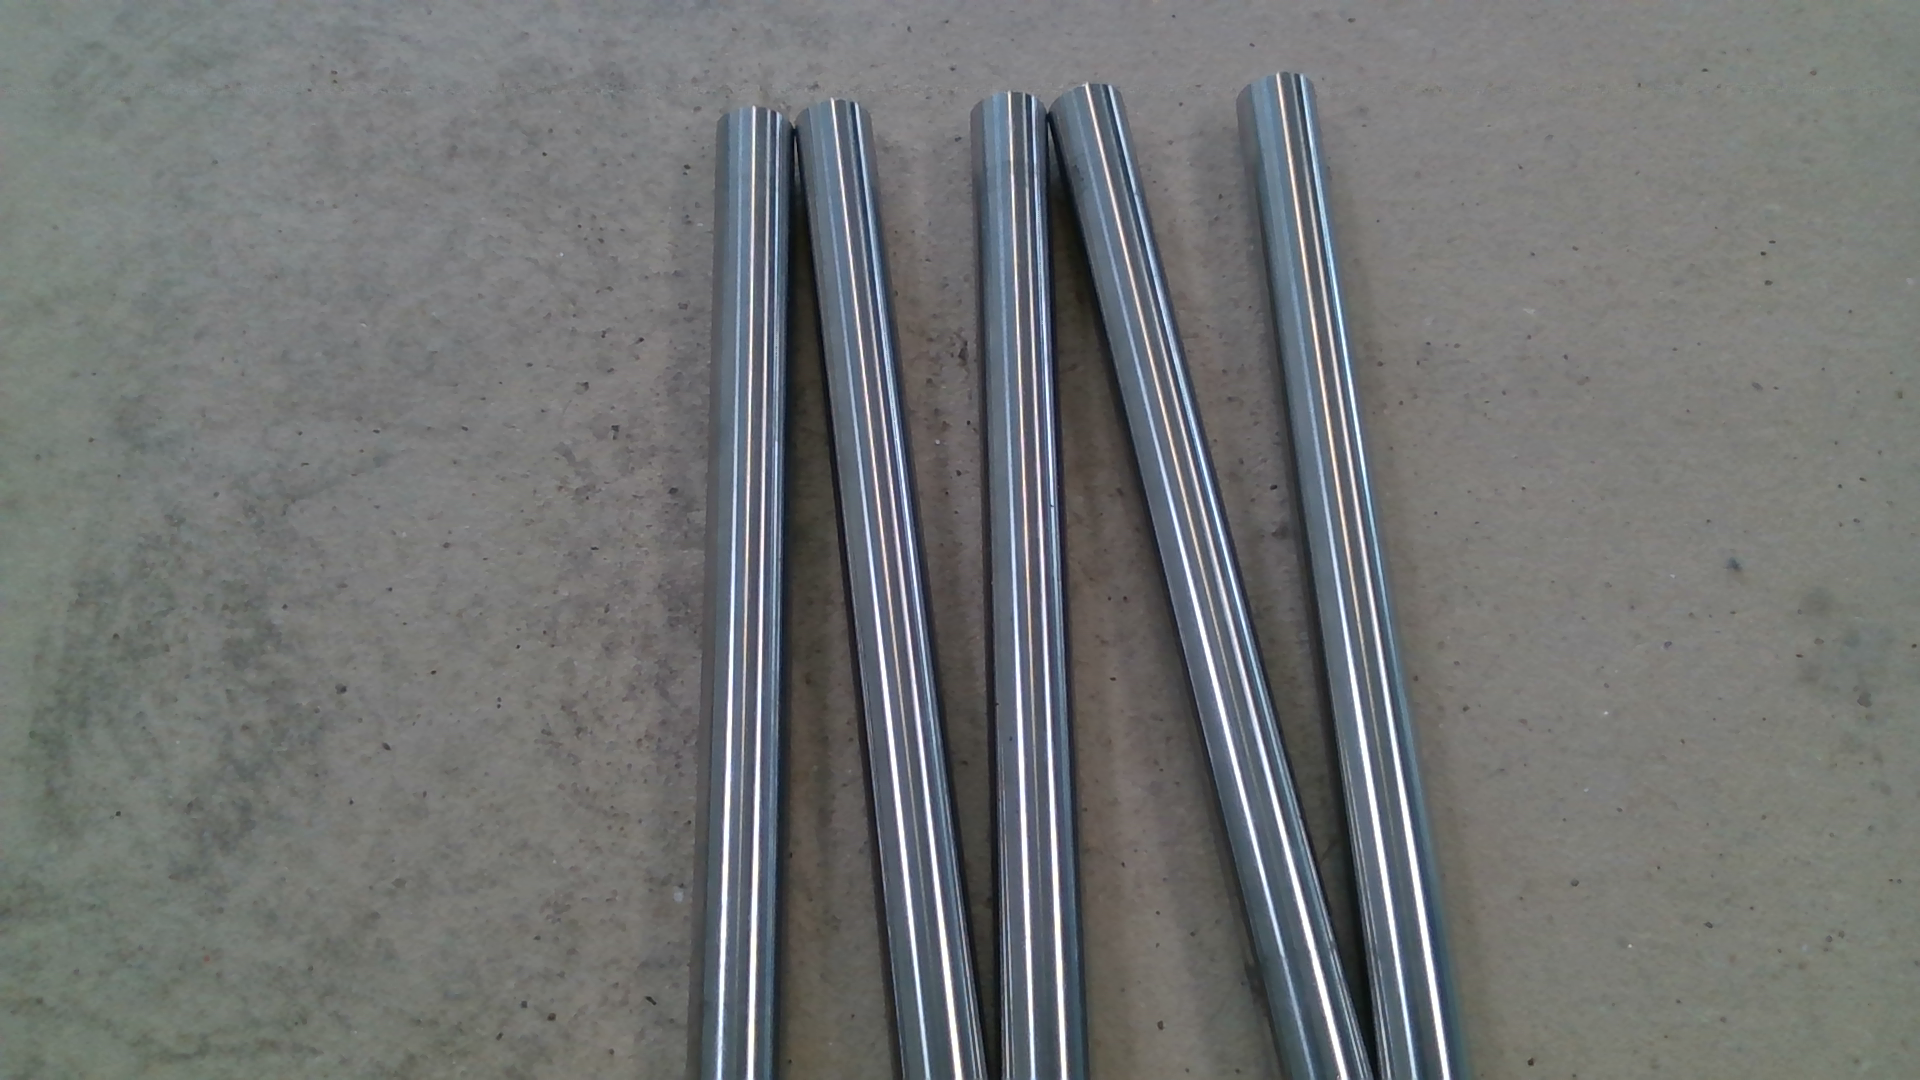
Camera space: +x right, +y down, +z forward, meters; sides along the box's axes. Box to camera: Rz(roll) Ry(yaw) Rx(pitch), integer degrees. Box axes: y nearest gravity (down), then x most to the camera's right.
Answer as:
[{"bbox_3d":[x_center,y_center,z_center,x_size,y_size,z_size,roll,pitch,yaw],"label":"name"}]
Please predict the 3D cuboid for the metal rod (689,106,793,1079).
[{"bbox_3d":[-0.061,0.010,0.393,0.025,0.025,0.299,-2,71,-1],"label":"metal rod"}]

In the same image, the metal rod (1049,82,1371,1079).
[{"bbox_3d":[0.066,-0.001,0.396,0.025,0.025,0.299,-9,71,-3],"label":"metal rod"}]

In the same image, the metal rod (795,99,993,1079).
[{"bbox_3d":[-0.022,0.006,0.394,0.025,0.025,0.299,-7,71,-2],"label":"metal rod"}]

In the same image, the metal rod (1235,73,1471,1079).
[{"bbox_3d":[0.109,-0.003,0.397,0.025,0.025,0.299,-3,70,-1],"label":"metal rod"}]

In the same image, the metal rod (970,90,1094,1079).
[{"bbox_3d":[0.019,0.004,0.394,0.025,0.025,0.299,-1,71,0],"label":"metal rod"}]
